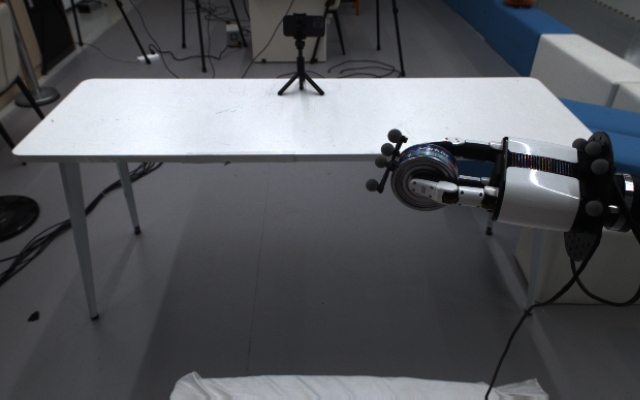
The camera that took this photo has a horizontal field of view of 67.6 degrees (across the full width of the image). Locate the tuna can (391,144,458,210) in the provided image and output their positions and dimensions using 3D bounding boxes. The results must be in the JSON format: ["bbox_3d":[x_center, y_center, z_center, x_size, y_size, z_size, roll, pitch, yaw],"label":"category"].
[{"bbox_3d":[0.138,-0.031,0.629,0.085,0.085,0.034,9,35,9],"label":"tuna can"}]
